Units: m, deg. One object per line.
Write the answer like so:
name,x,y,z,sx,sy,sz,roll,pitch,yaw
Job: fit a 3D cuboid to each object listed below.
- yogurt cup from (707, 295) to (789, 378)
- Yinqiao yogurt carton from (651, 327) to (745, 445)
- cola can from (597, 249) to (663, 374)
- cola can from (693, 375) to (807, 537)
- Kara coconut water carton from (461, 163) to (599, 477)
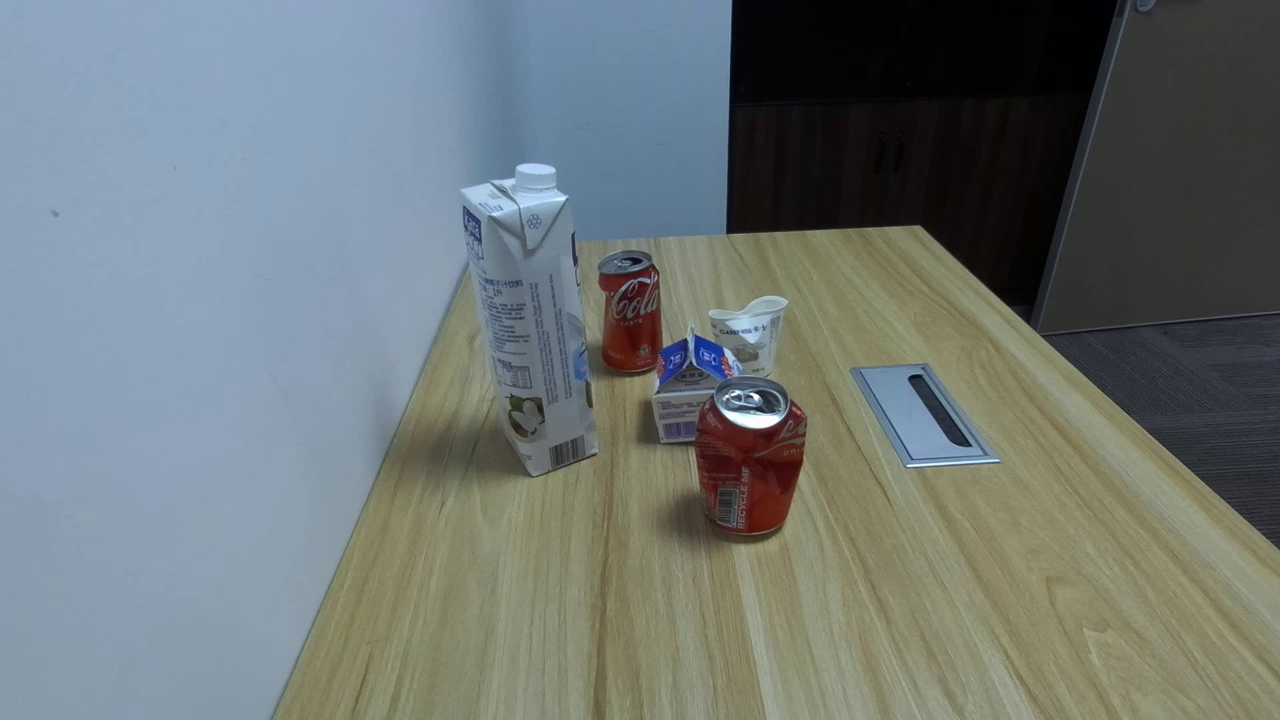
yogurt cup,0.109,-0.024,0.712,0.053,0.071,0.076,23,39,37
Yinqiao yogurt carton,0.052,0.016,0.624,0.080,0.097,0.074,-5,30,9
cola can,-0.008,-0.048,0.724,0.065,0.117,0.072,-3,30,-3
cola can,0.077,0.070,0.515,0.069,0.112,0.066,21,39,32
Kara coconut water carton,-0.084,-0.028,0.566,0.075,0.245,0.076,-17,34,-20
